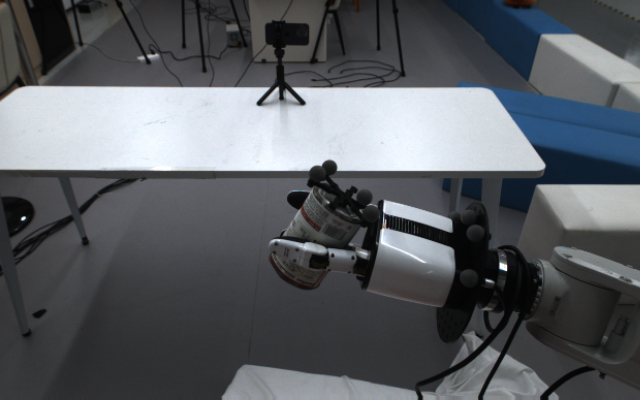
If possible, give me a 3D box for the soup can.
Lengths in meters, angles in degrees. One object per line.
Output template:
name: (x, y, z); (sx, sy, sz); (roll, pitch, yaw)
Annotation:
soup can: (-0.001, 0.040, 0.539); (0.067, 0.101, 0.067); (28, 22, -12)
